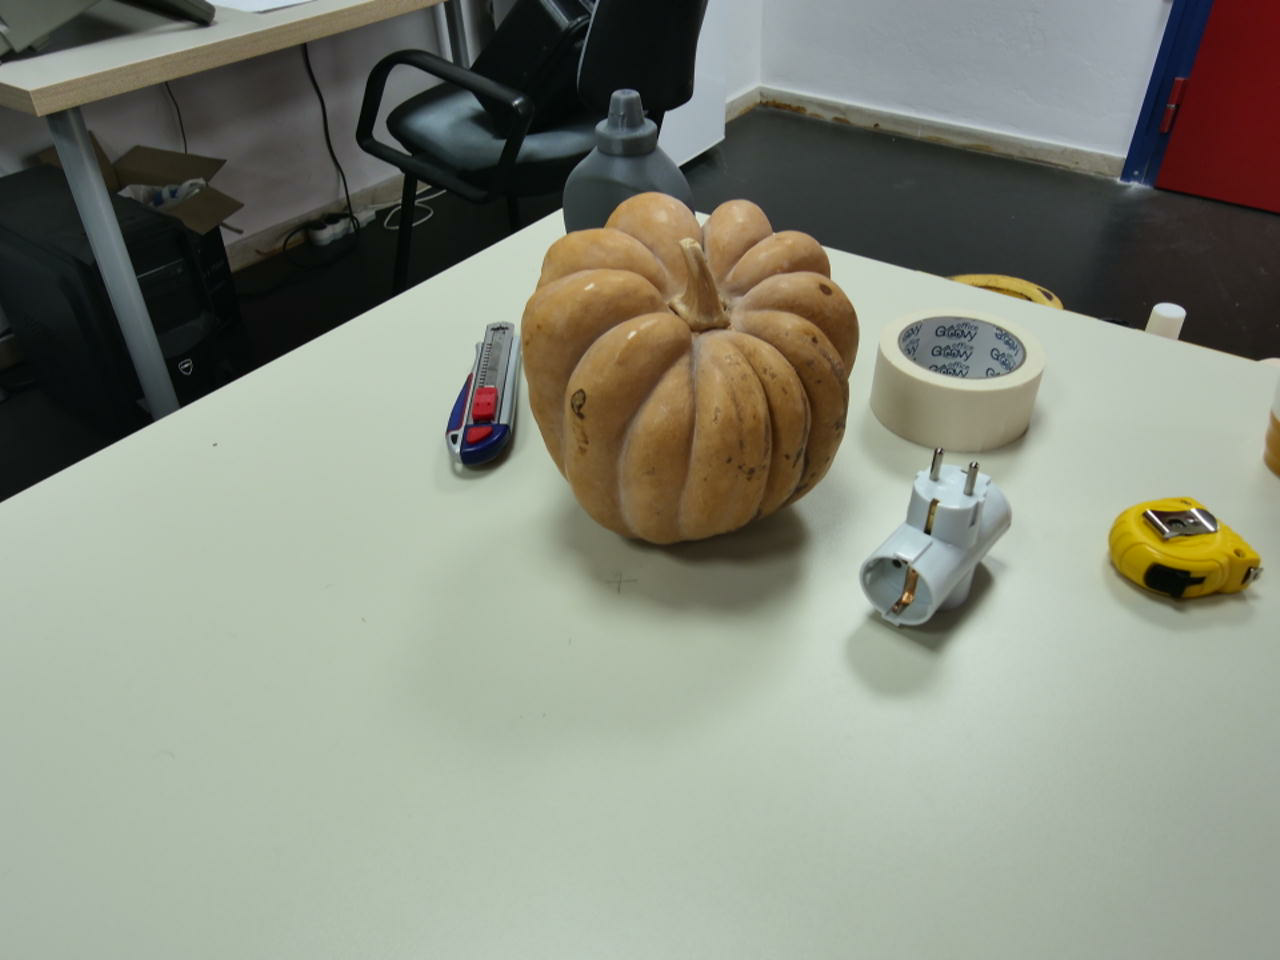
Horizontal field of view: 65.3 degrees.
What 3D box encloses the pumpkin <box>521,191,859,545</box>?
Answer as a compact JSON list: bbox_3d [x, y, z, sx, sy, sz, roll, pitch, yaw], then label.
[{"bbox_3d":[0.026,-0.060,0.571,0.199,0.177,0.198,-1,37,0],"label":"pumpkin"}]
